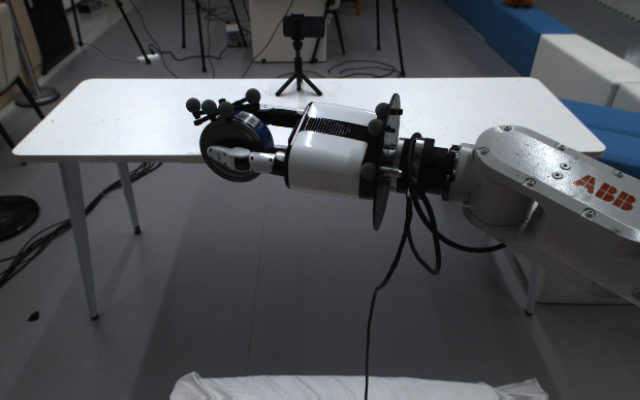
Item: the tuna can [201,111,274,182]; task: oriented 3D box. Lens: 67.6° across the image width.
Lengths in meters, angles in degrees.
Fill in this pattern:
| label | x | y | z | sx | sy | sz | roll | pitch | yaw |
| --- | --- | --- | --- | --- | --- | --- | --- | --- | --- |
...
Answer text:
| label | x | y | z | sx | sy | sz | roll | pitch | yaw |
| --- | --- | --- | --- | --- | --- | --- | --- | --- | --- |
| tuna can | -0.098 | -0.066 | 0.597 | 0.085 | 0.085 | 0.034 | 10 | 33 | 11 |
